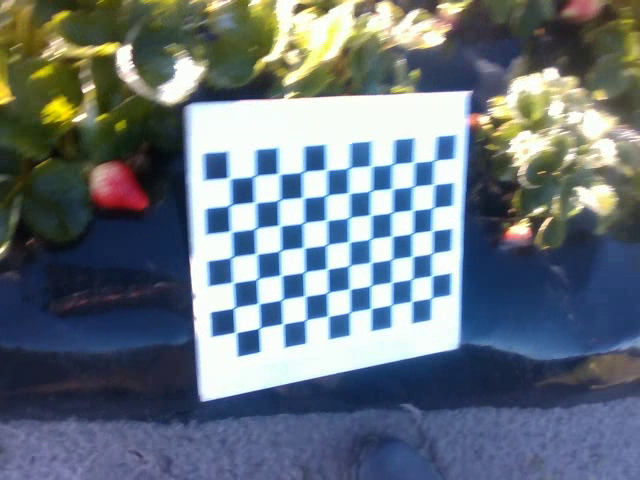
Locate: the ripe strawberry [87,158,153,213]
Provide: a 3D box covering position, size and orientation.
[{"bbox_3d":[-0.188,-0.044,0.638,0.065,0.040,0.040,37,-9,-24],"label":"ripe strawberry"}]
